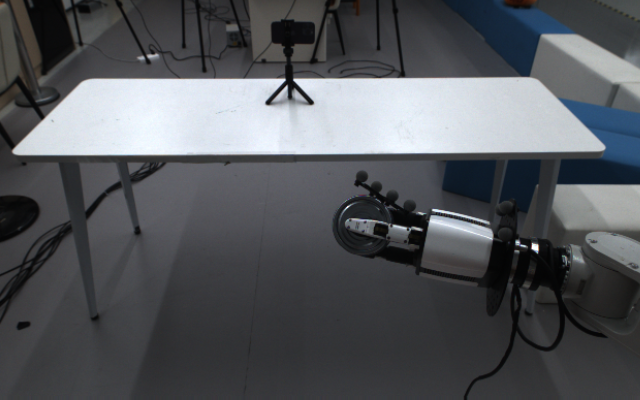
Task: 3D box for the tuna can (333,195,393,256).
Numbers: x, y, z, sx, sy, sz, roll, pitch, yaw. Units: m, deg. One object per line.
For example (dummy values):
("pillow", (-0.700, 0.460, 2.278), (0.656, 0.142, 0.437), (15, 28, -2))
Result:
("tuna can", (0.065, 0.042, 0.681), (0.085, 0.085, 0.034), (13, -4, 15))
